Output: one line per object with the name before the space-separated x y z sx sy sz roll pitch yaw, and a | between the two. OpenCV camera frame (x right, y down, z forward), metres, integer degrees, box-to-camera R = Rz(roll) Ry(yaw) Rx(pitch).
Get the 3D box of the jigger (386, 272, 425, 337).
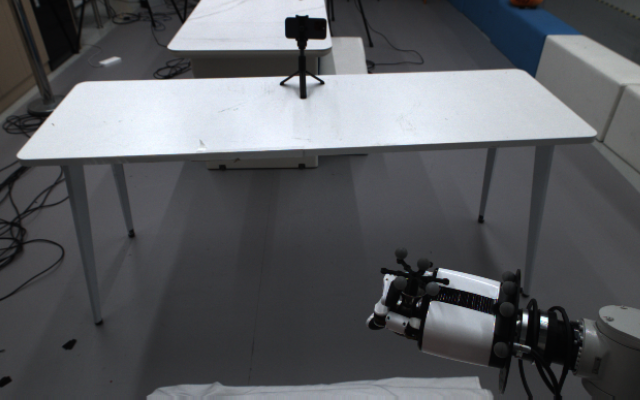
jigger | 0.121 0.144 0.658 0.043 0.071 0.043 6 26 -3
